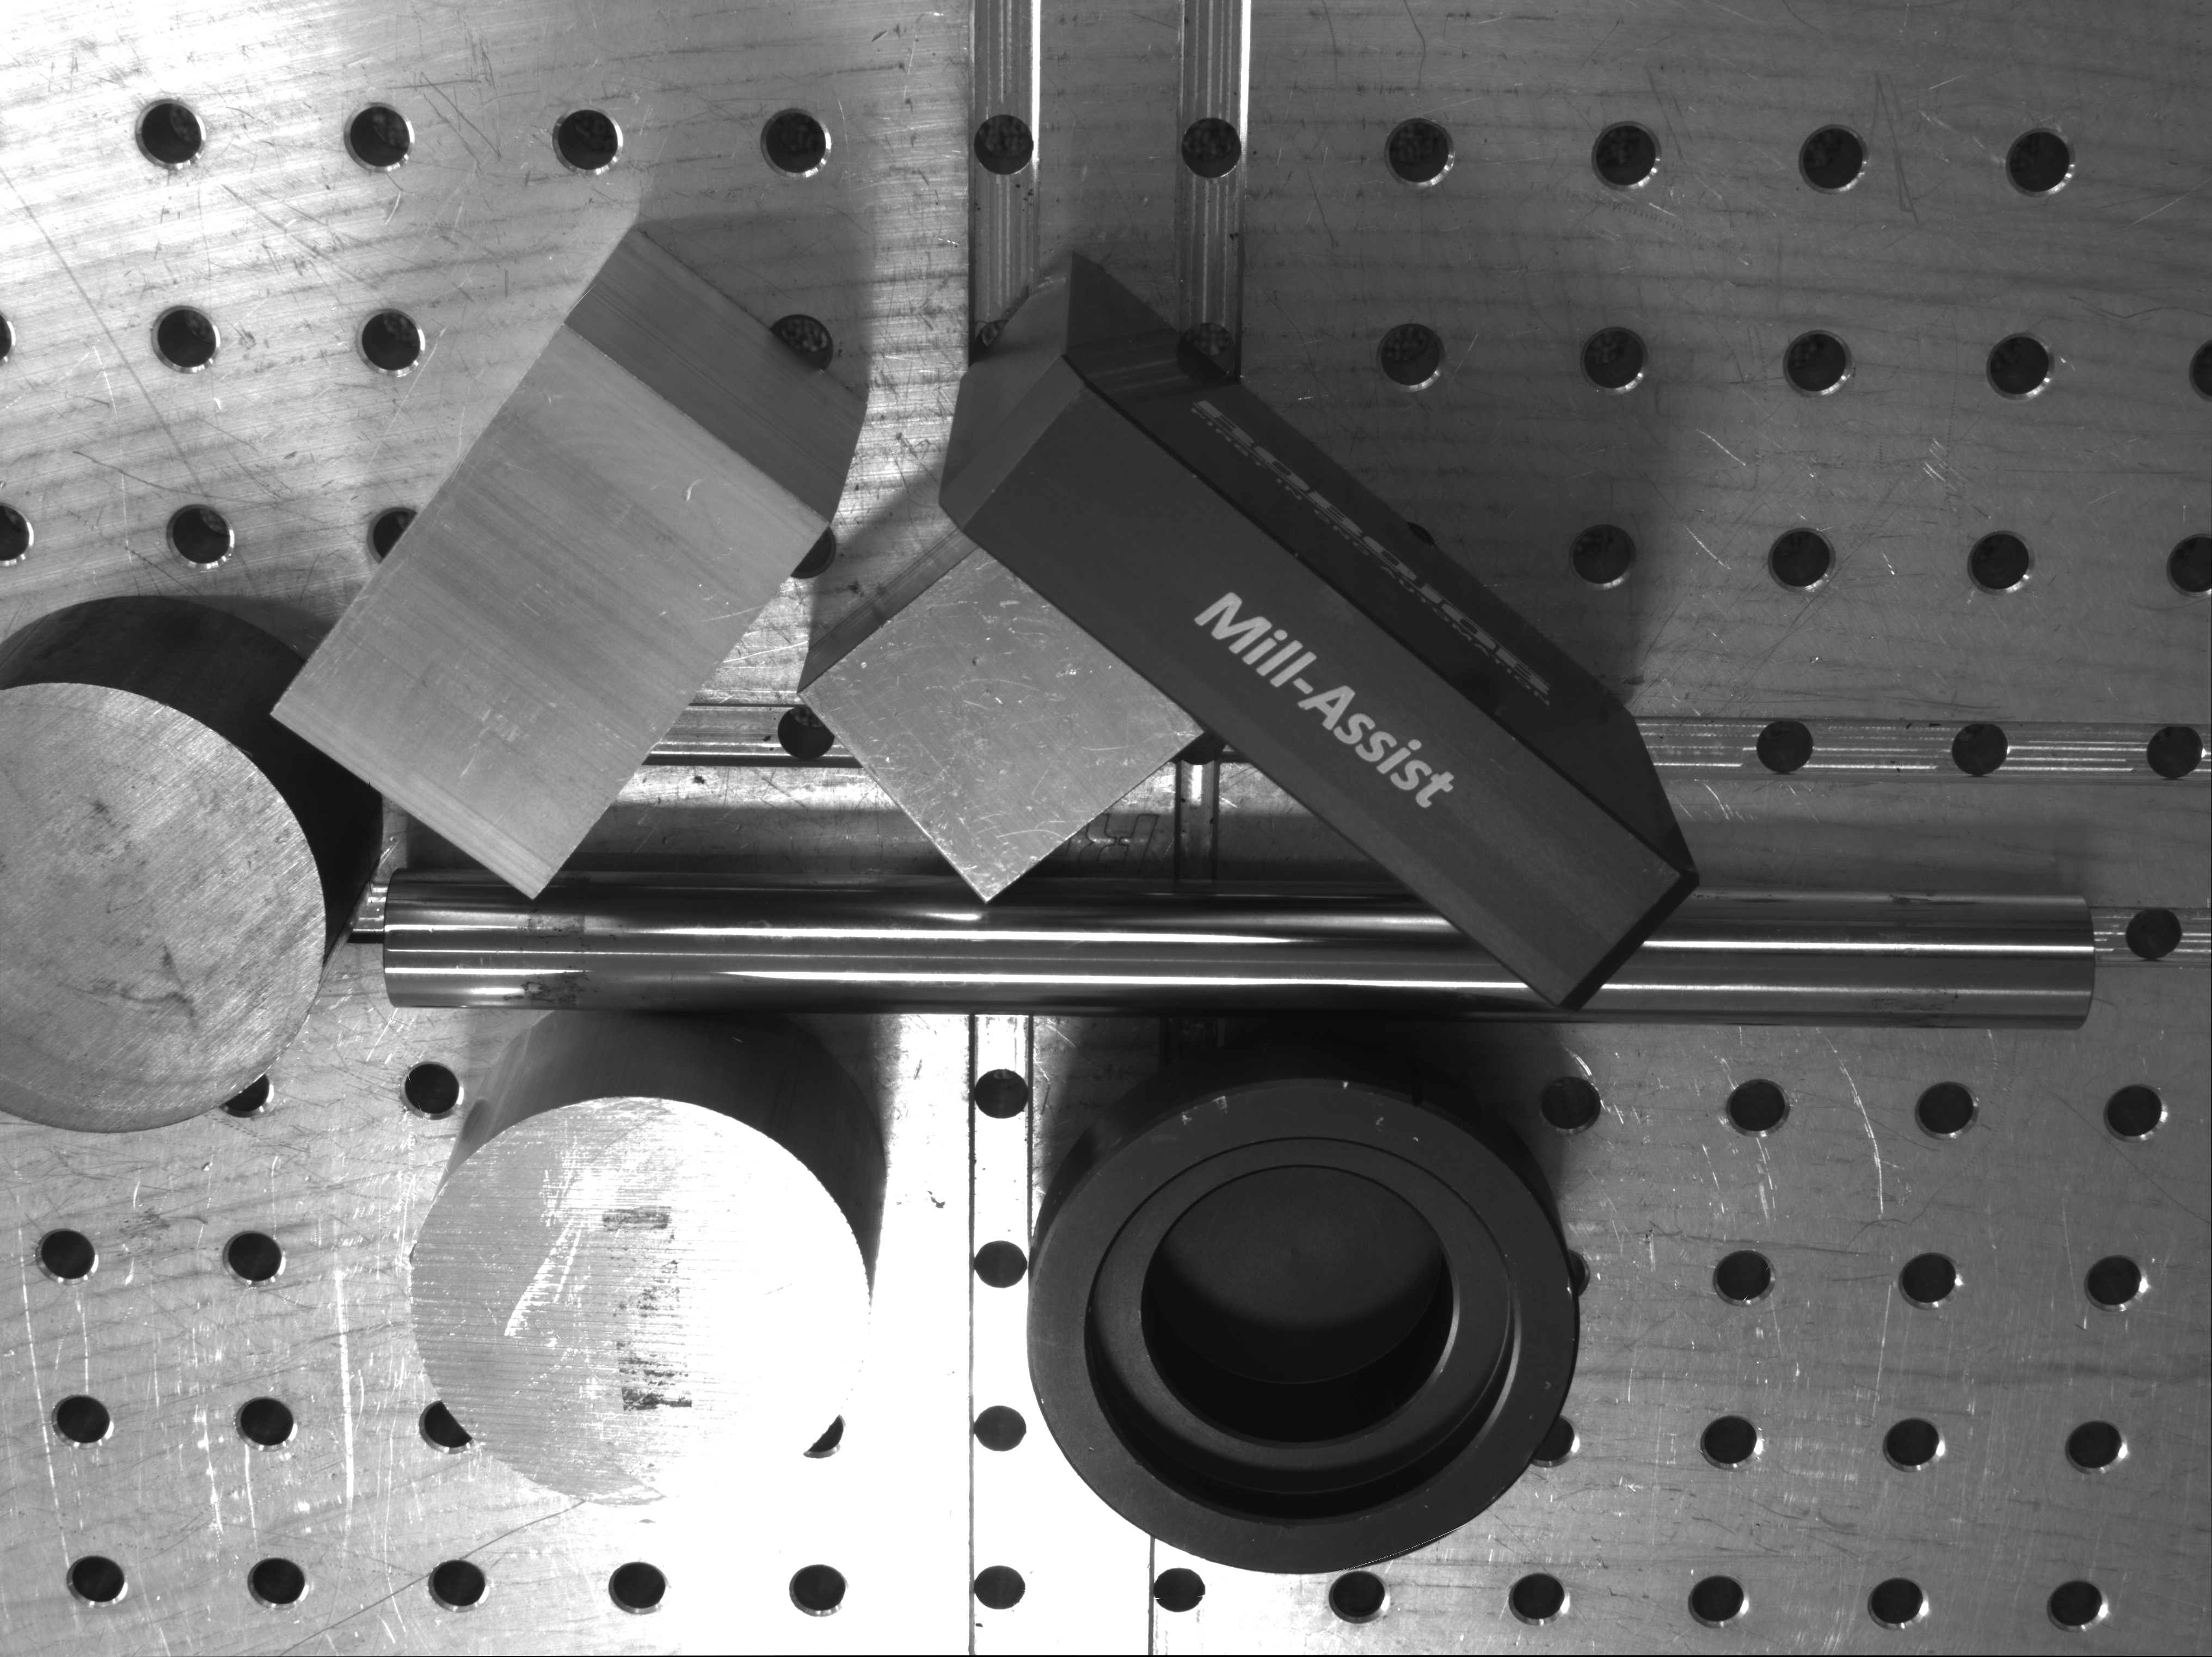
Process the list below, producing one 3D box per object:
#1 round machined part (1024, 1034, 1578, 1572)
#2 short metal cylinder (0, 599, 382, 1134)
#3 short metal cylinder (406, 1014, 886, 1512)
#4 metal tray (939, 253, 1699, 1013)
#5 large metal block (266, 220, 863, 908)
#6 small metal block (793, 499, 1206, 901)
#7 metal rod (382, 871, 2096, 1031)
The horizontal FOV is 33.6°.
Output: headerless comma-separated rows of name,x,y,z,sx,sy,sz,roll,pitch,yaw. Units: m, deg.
round machined part,0.035,0.082,0.667,0.098,0.042,0.098,0,110,0
short metal cylinder,-0.170,0.006,0.634,0.080,0.050,0.080,0,110,0
short metal cylinder,-0.081,0.075,0.659,0.080,0.050,0.080,0,110,0
metal tray,0.034,-0.034,0.599,0.130,0.090,0.030,38,106,-13
large metal block,-0.086,-0.045,0.600,0.050,0.080,0.080,37,106,-13
small metal block,-0.018,-0.025,0.637,0.050,0.025,0.050,-37,106,12
metal rod,0.024,0.022,0.654,0.300,0.025,0.025,1,110,0
